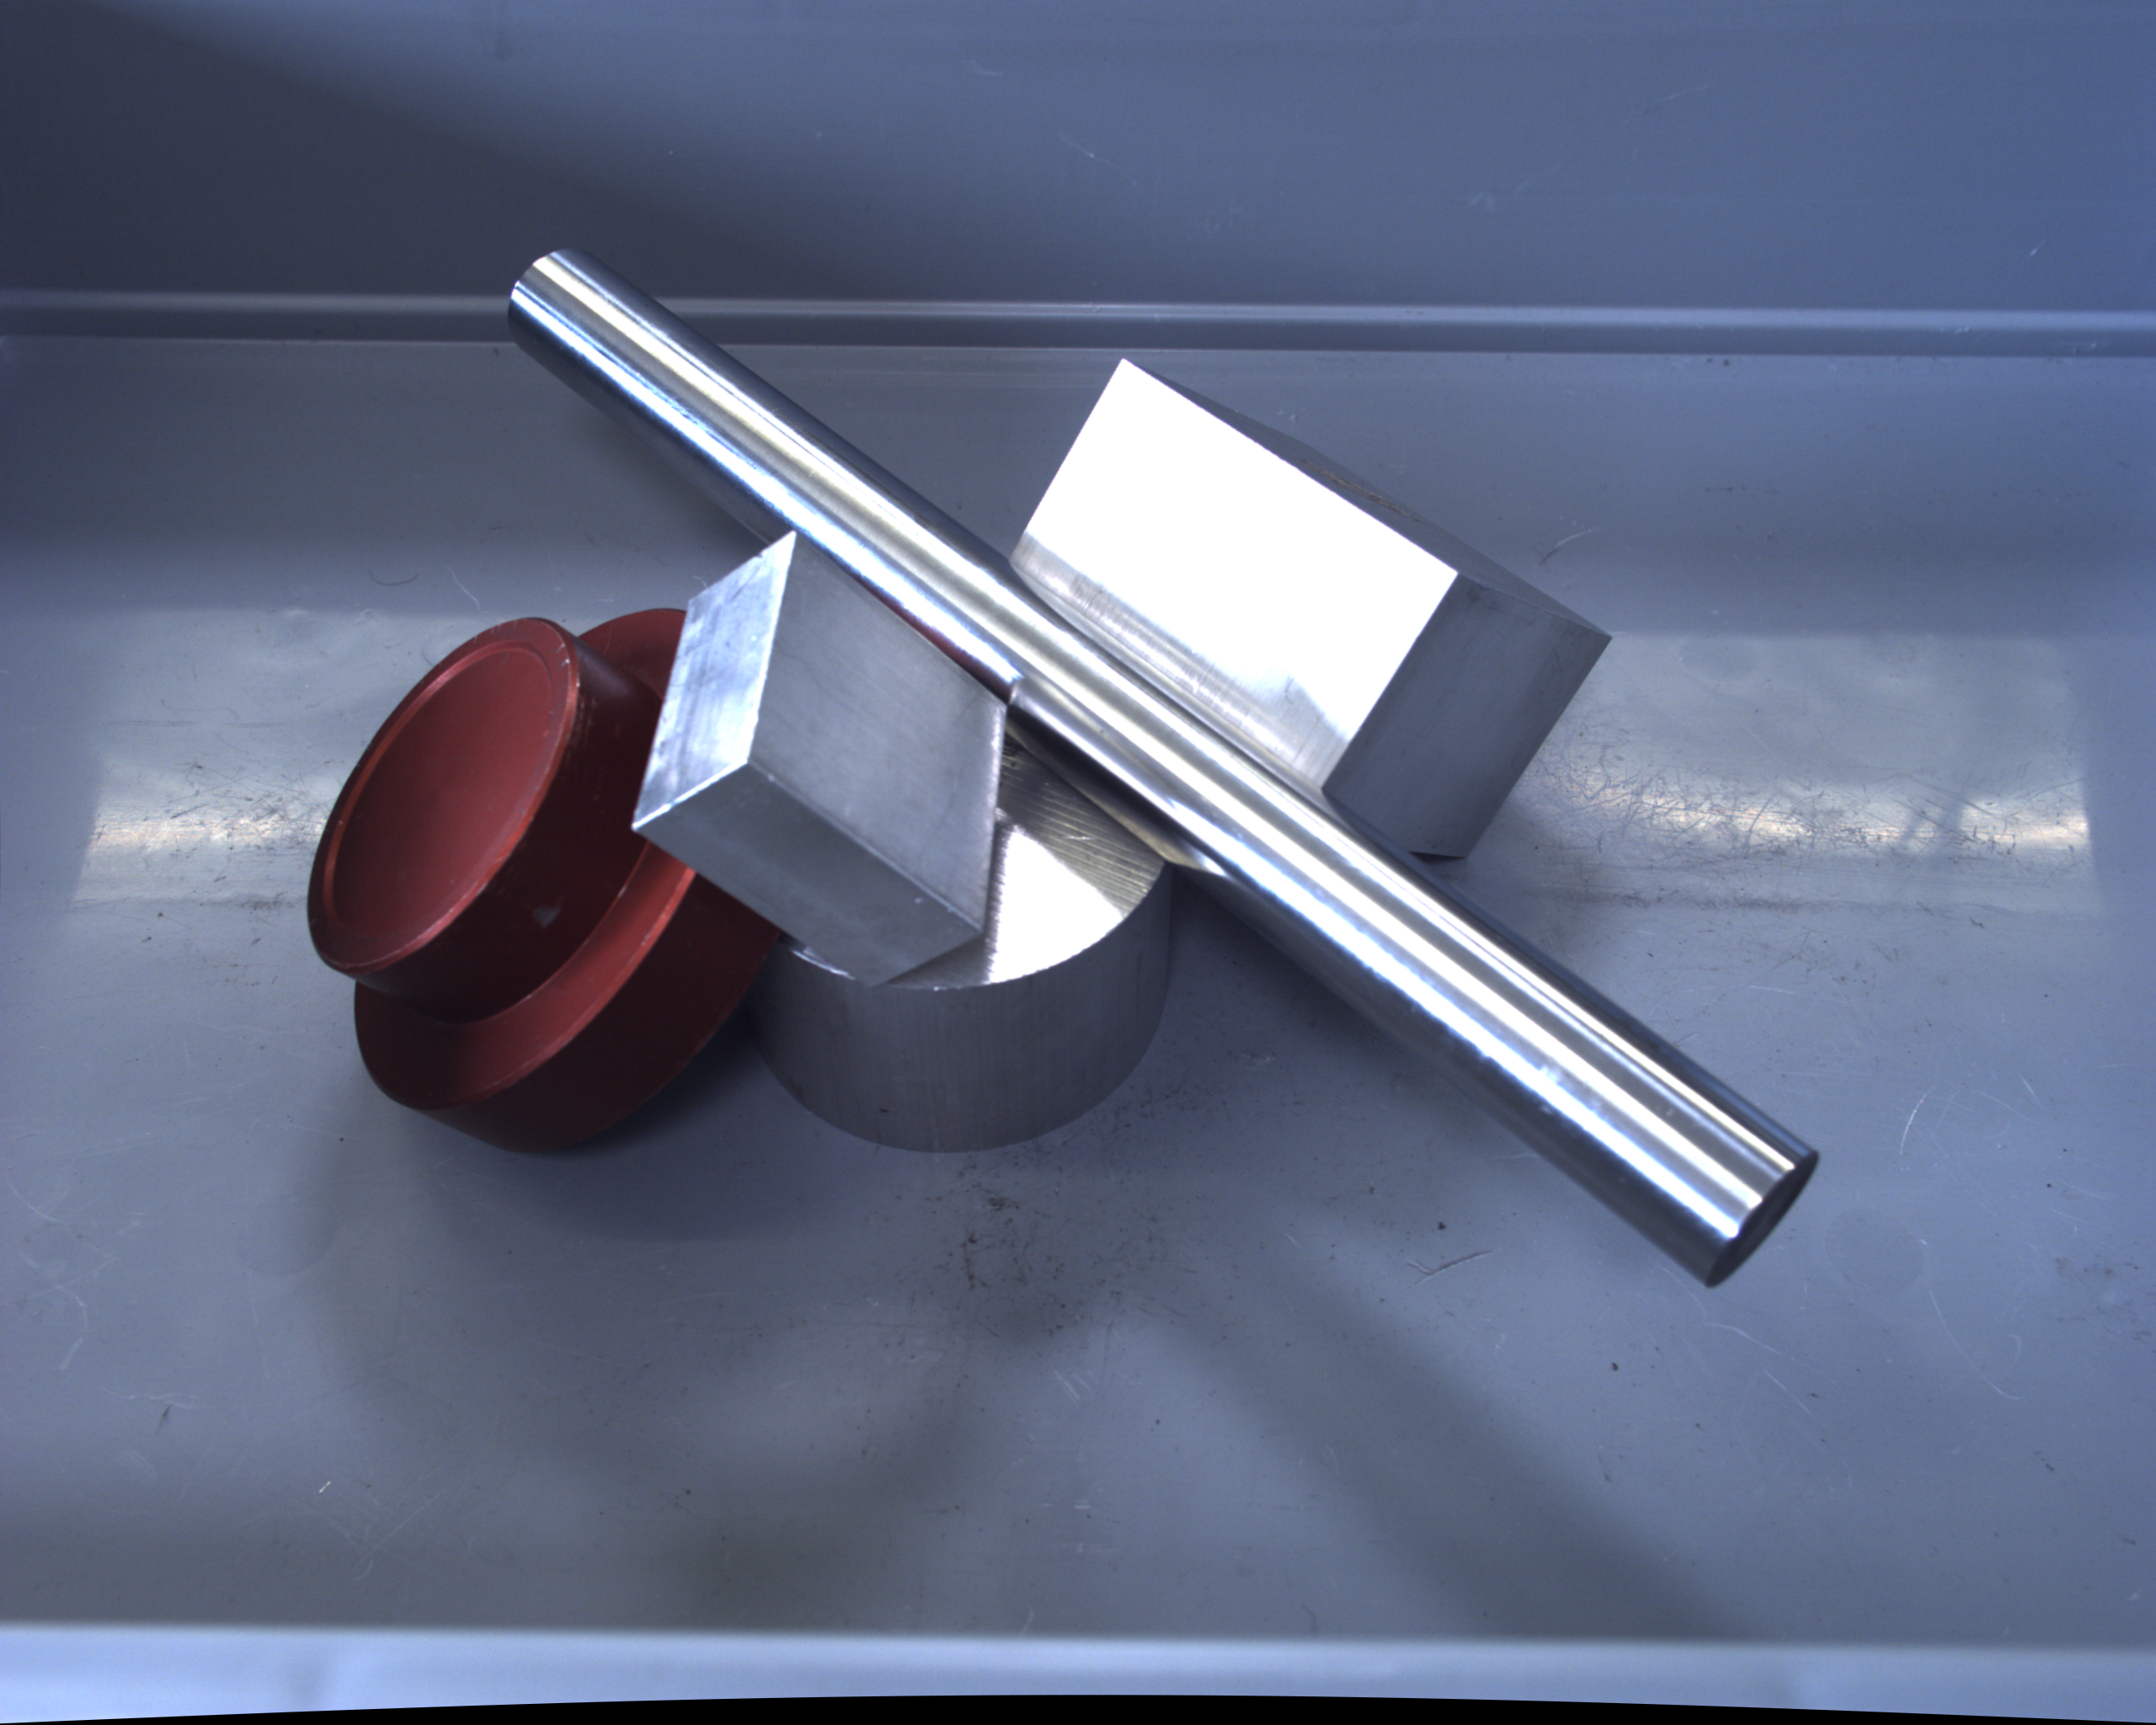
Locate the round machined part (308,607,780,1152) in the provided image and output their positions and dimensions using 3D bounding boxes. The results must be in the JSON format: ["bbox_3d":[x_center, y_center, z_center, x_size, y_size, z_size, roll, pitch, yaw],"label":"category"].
[{"bbox_3d":[-0.094,-0.003,0.360,0.098,0.042,0.098,-24,48,30],"label":"round machined part"}]

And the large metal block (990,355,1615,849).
[{"bbox_3d":[0.044,-0.047,0.399,0.080,0.050,0.080,39,17,27],"label":"large metal block"}]

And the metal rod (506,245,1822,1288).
[{"bbox_3d":[-0.005,-0.033,0.366,0.025,0.025,0.300,-36,59,-26],"label":"metal rod"}]

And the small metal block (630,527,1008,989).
[{"bbox_3d":[-0.039,-0.016,0.332,0.025,0.050,0.050,-27,42,32],"label":"small metal block"}]

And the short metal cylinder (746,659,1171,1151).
[{"bbox_3d":[-0.023,0.005,0.381,0.081,0.050,0.080,0,50,0],"label":"short metal cylinder"}]
